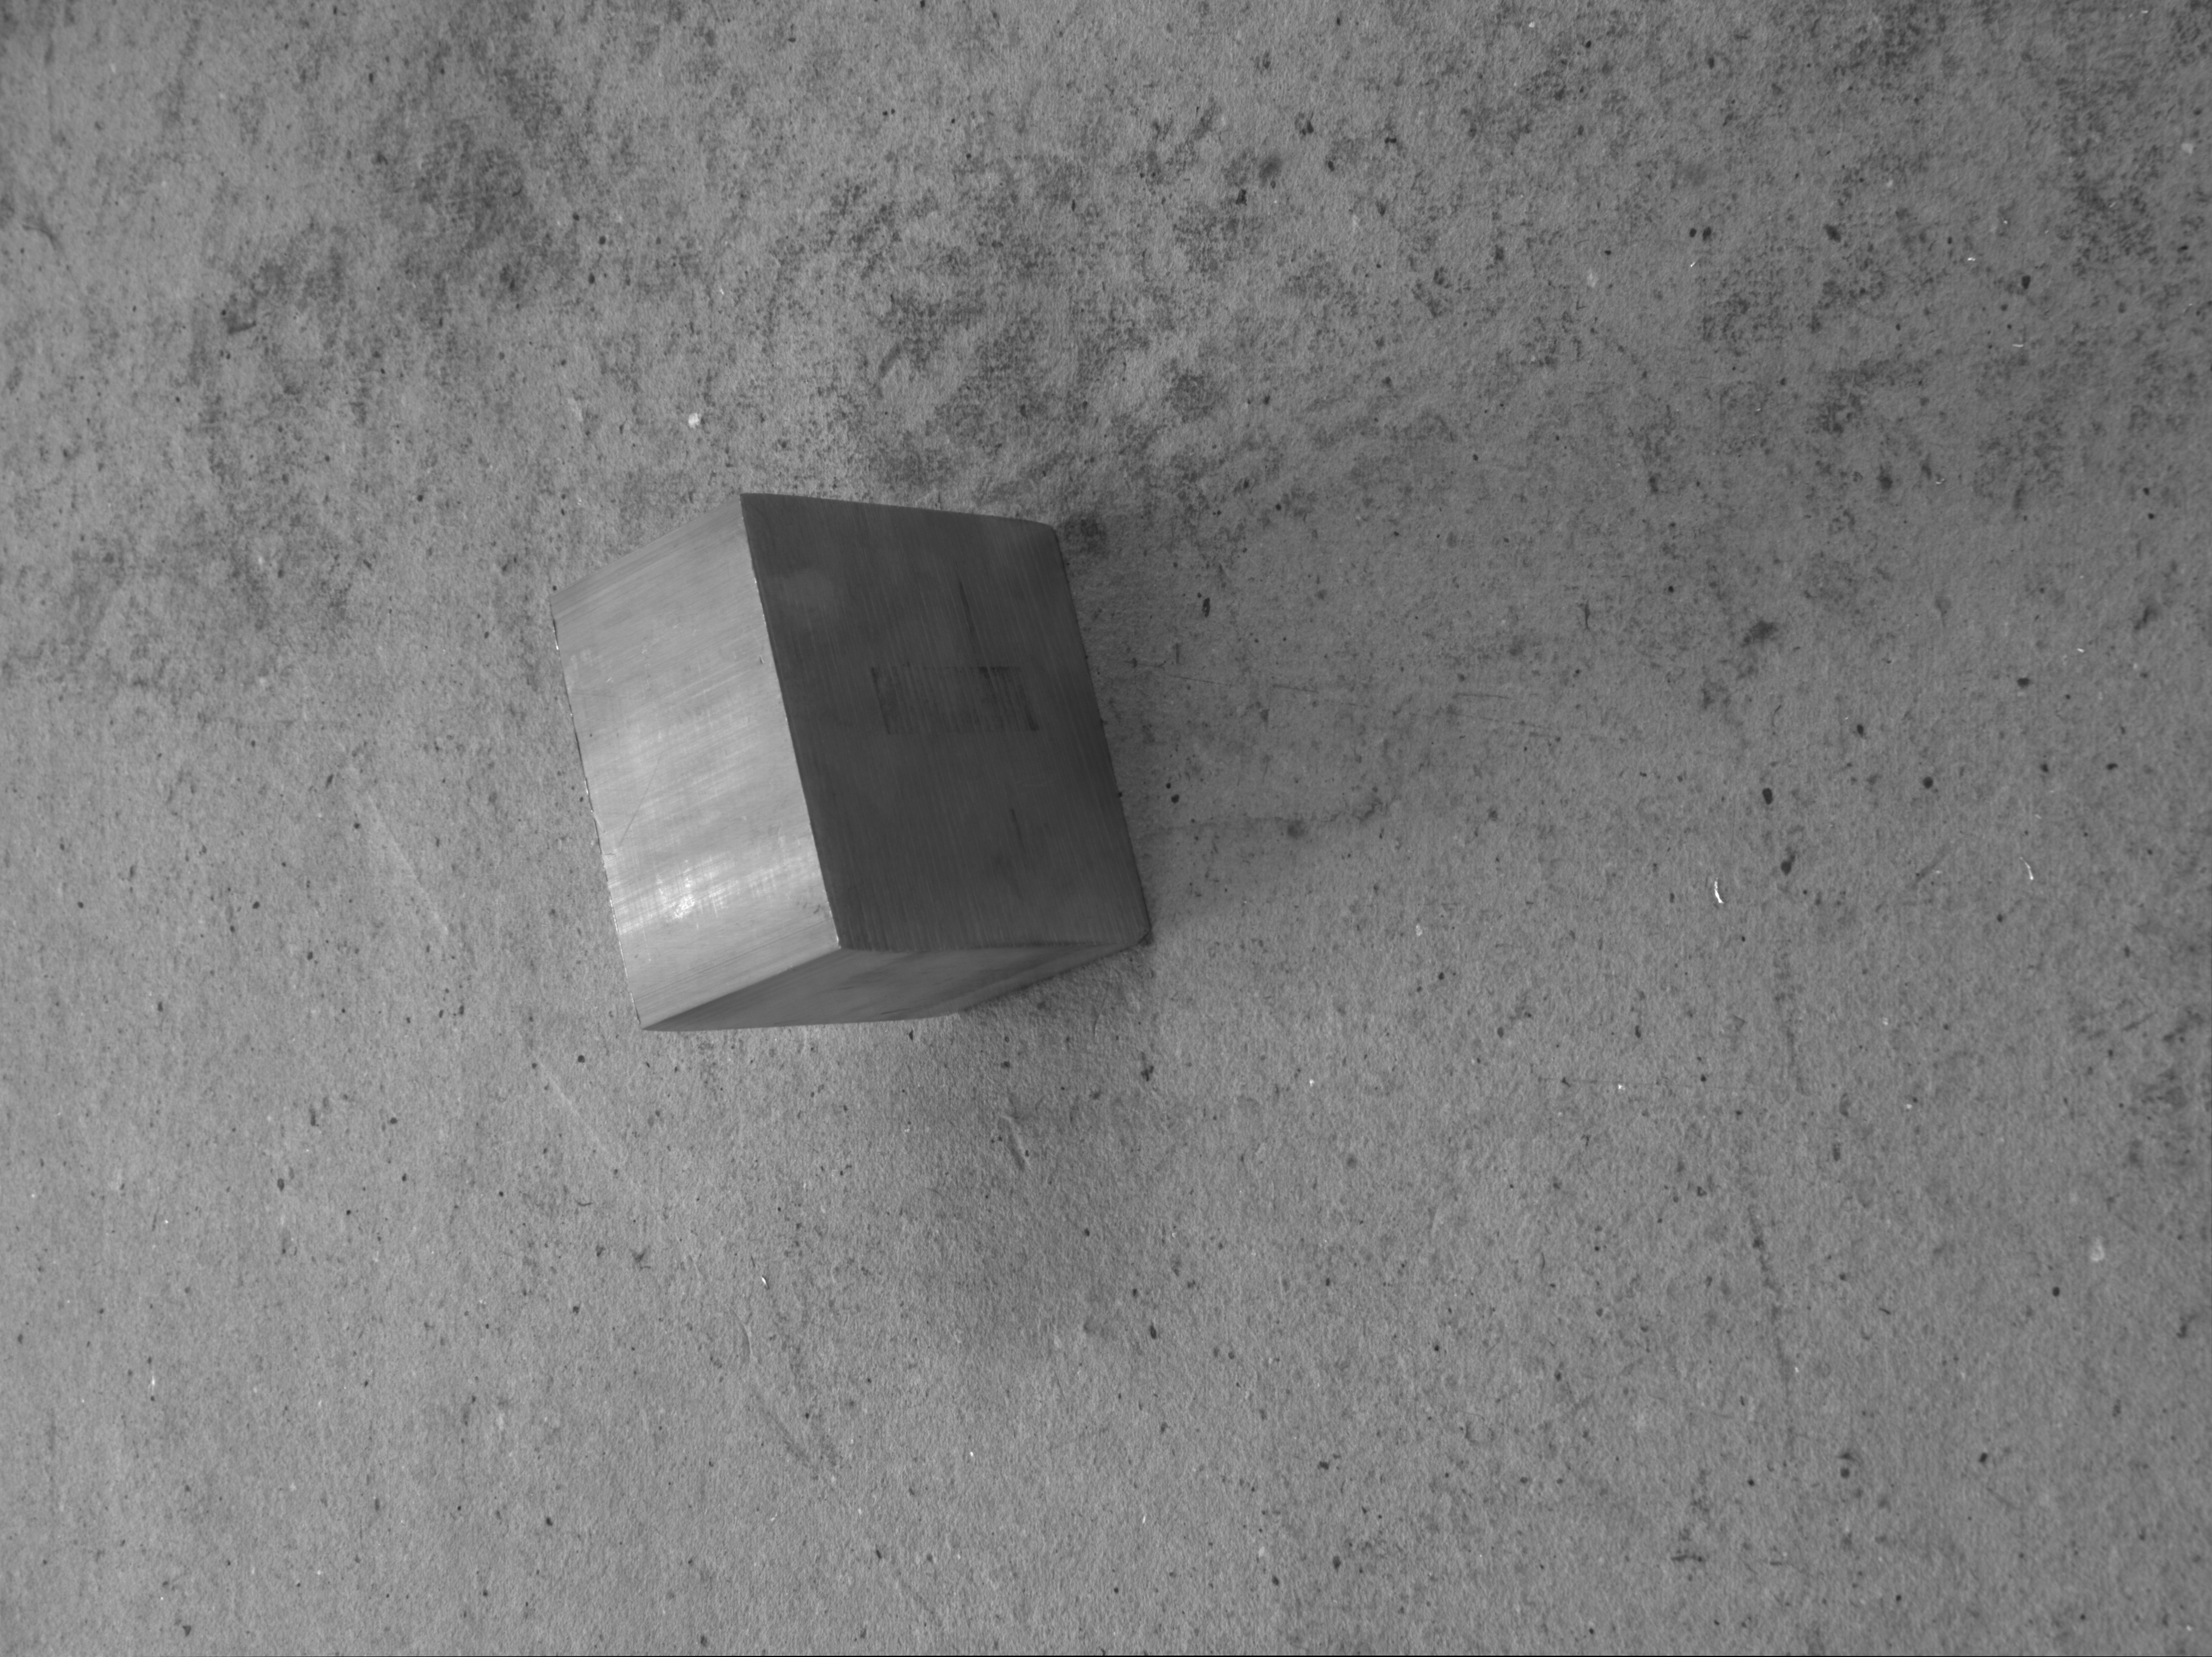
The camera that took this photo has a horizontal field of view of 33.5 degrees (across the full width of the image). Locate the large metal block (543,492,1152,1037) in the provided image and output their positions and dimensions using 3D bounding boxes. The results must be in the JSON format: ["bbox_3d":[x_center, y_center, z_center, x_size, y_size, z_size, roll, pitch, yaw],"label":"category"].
[{"bbox_3d":[-0.045,-0.010,0.647,0.050,0.080,0.080,-22,76,38],"label":"large metal block"}]
